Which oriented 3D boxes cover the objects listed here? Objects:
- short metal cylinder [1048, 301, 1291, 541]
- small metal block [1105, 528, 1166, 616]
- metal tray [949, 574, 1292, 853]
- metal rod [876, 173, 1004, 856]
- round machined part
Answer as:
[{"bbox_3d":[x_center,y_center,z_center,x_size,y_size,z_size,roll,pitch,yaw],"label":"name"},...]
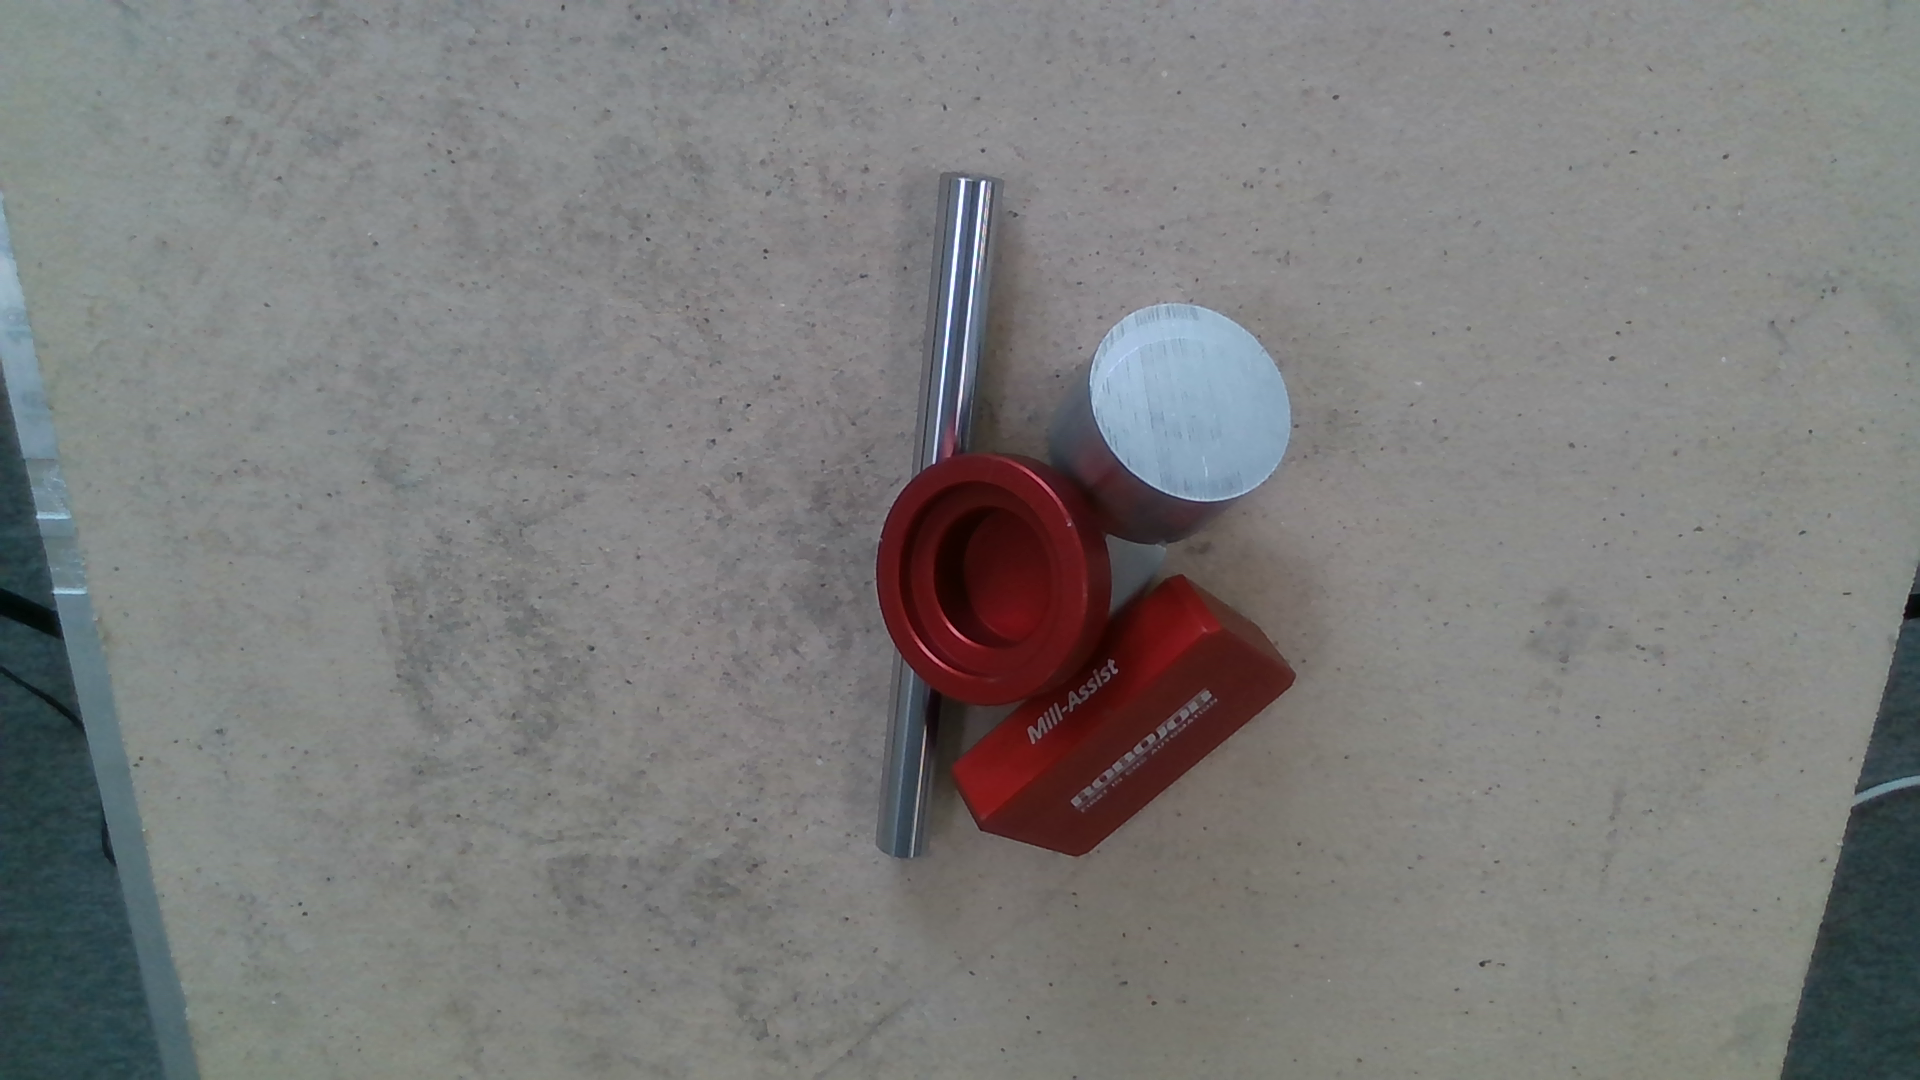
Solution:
[{"bbox_3d":[0.080,-0.045,0.534,0.080,0.050,0.080,5,70,-14],"label":"short metal cylinder"},{"bbox_3d":[0.060,0.012,0.574,0.025,0.050,0.050,22,109,-8],"label":"small metal block"},{"bbox_3d":[0.069,0.078,0.584,0.130,0.030,0.090,-43,143,14],"label":"metal tray"},{"bbox_3d":[-0.011,-0.001,0.585,0.025,0.025,0.301,6,110,-2],"label":"metal rod"},{"bbox_3d":[0.017,0.013,0.548,0.098,0.042,0.098,4,97,34],"label":"round machined part"}]
